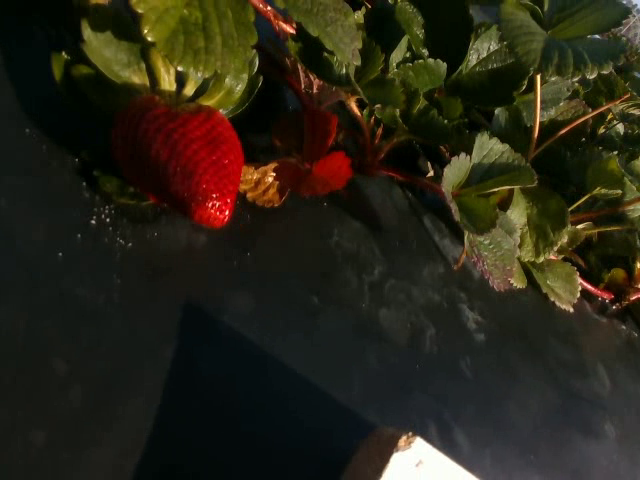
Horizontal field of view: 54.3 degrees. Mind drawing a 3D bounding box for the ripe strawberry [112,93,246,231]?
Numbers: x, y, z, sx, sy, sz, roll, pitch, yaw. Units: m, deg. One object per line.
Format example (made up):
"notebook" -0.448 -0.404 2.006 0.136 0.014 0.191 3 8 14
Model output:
"ripe strawberry" -0.038 -0.021 0.173 0.040 0.041 0.056 -14 42 -22
